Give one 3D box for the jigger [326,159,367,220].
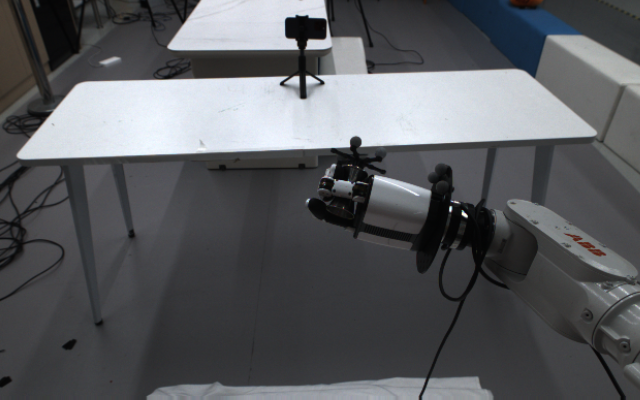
[{"bbox_3d":[0.041,-0.014,0.700,0.043,0.043,0.071,15,70,18],"label":"jigger"}]
